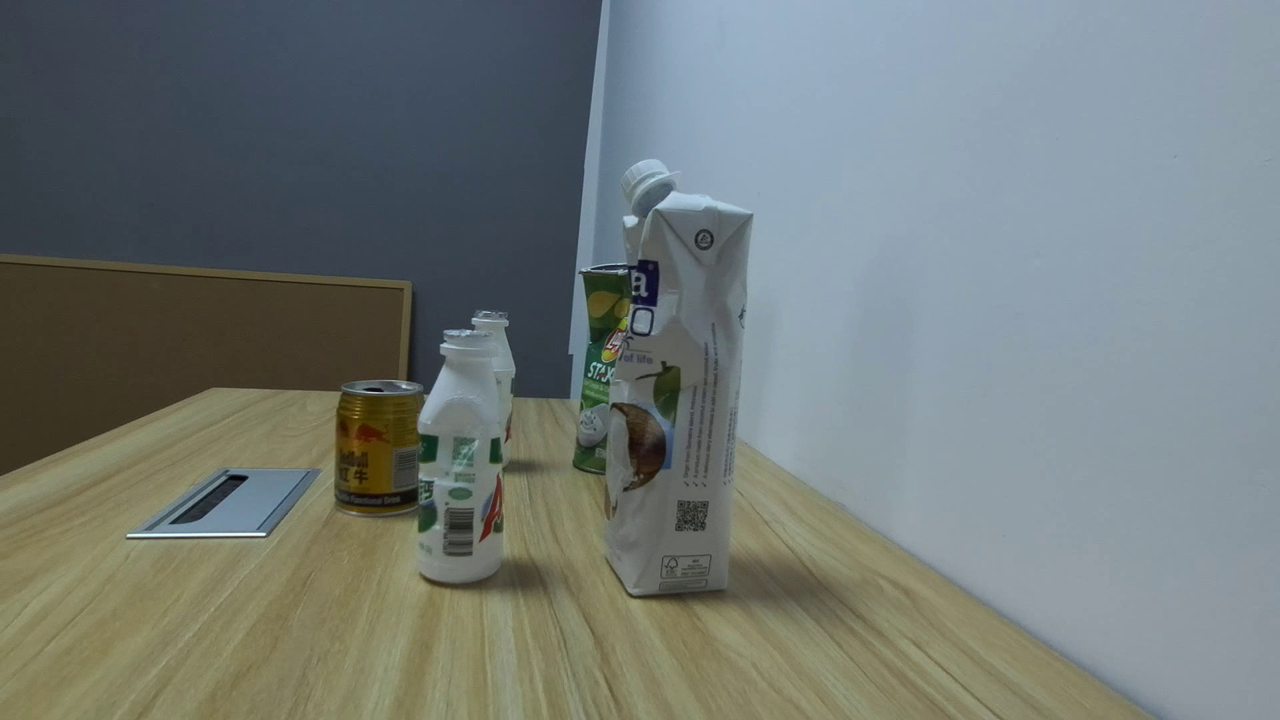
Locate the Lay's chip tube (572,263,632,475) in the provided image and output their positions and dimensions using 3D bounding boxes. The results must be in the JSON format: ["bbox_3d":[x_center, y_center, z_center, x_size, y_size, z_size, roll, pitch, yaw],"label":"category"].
[{"bbox_3d":[-0.022,0.008,0.670,0.077,0.200,0.069,0,-2,15],"label":"Lay's chip tube"}]

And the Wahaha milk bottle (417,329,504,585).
[{"bbox_3d":[-0.109,0.057,0.434,0.055,0.149,0.055,3,6,0],"label":"Wahaha milk bottle"}]

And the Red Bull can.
[{"bbox_3d":[-0.200,0.067,0.550,0.067,0.093,0.067,3,7,0],"label":"Red Bull can"}]

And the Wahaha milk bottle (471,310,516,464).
[{"bbox_3d":[-0.149,0.027,0.674,0.053,0.147,0.053,6,8,-1],"label":"Wahaha milk bottle"}]
